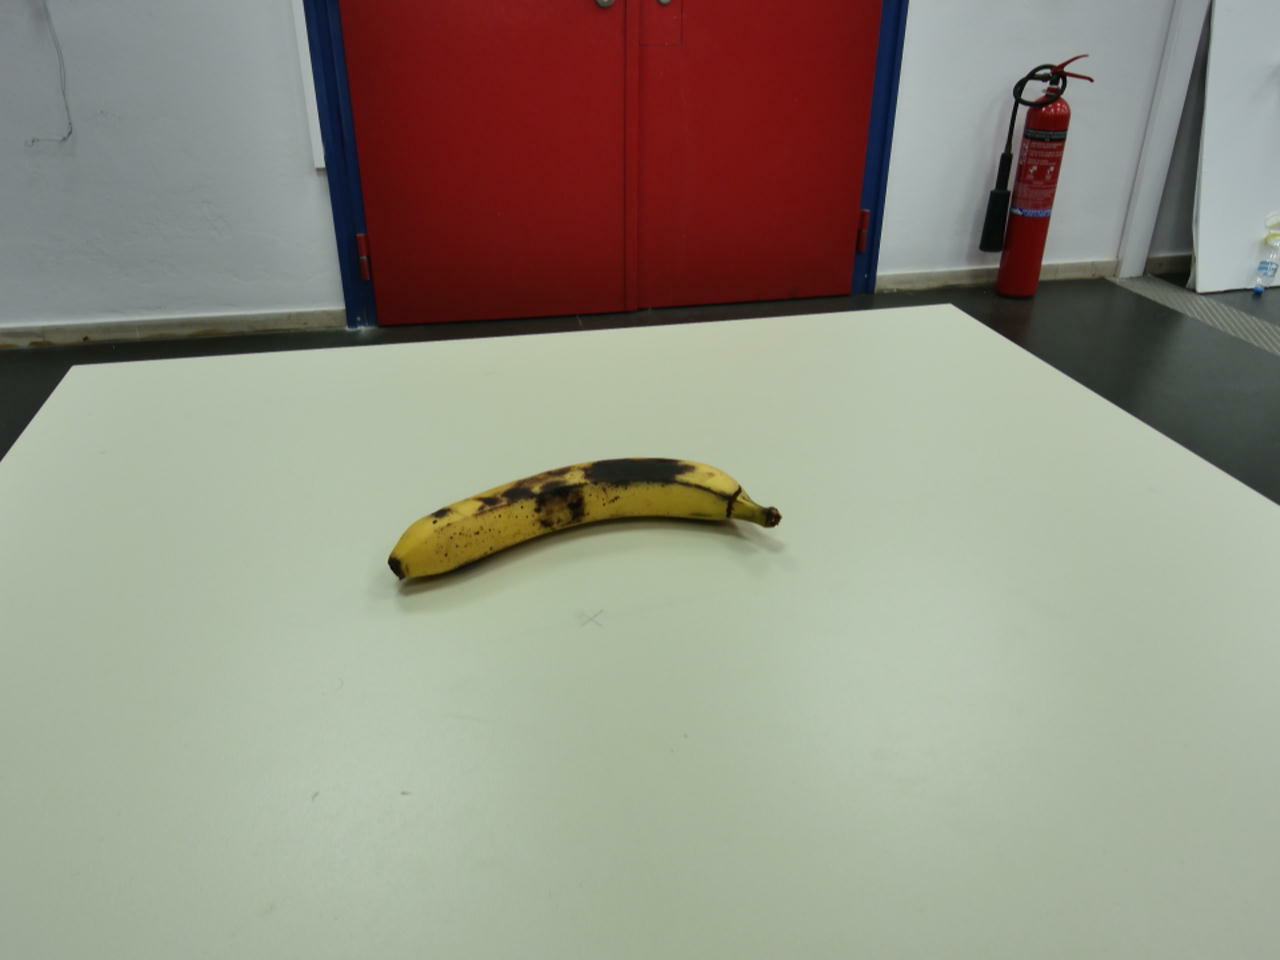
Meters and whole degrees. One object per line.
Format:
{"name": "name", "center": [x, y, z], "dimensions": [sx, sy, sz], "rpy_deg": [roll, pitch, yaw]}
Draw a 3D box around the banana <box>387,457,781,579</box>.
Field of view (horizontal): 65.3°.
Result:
{"name": "banana", "center": [-0.035, 0.017, 0.589], "dimensions": [0.222, 0.037, 0.084], "rpy_deg": [-6, 27, -11]}
